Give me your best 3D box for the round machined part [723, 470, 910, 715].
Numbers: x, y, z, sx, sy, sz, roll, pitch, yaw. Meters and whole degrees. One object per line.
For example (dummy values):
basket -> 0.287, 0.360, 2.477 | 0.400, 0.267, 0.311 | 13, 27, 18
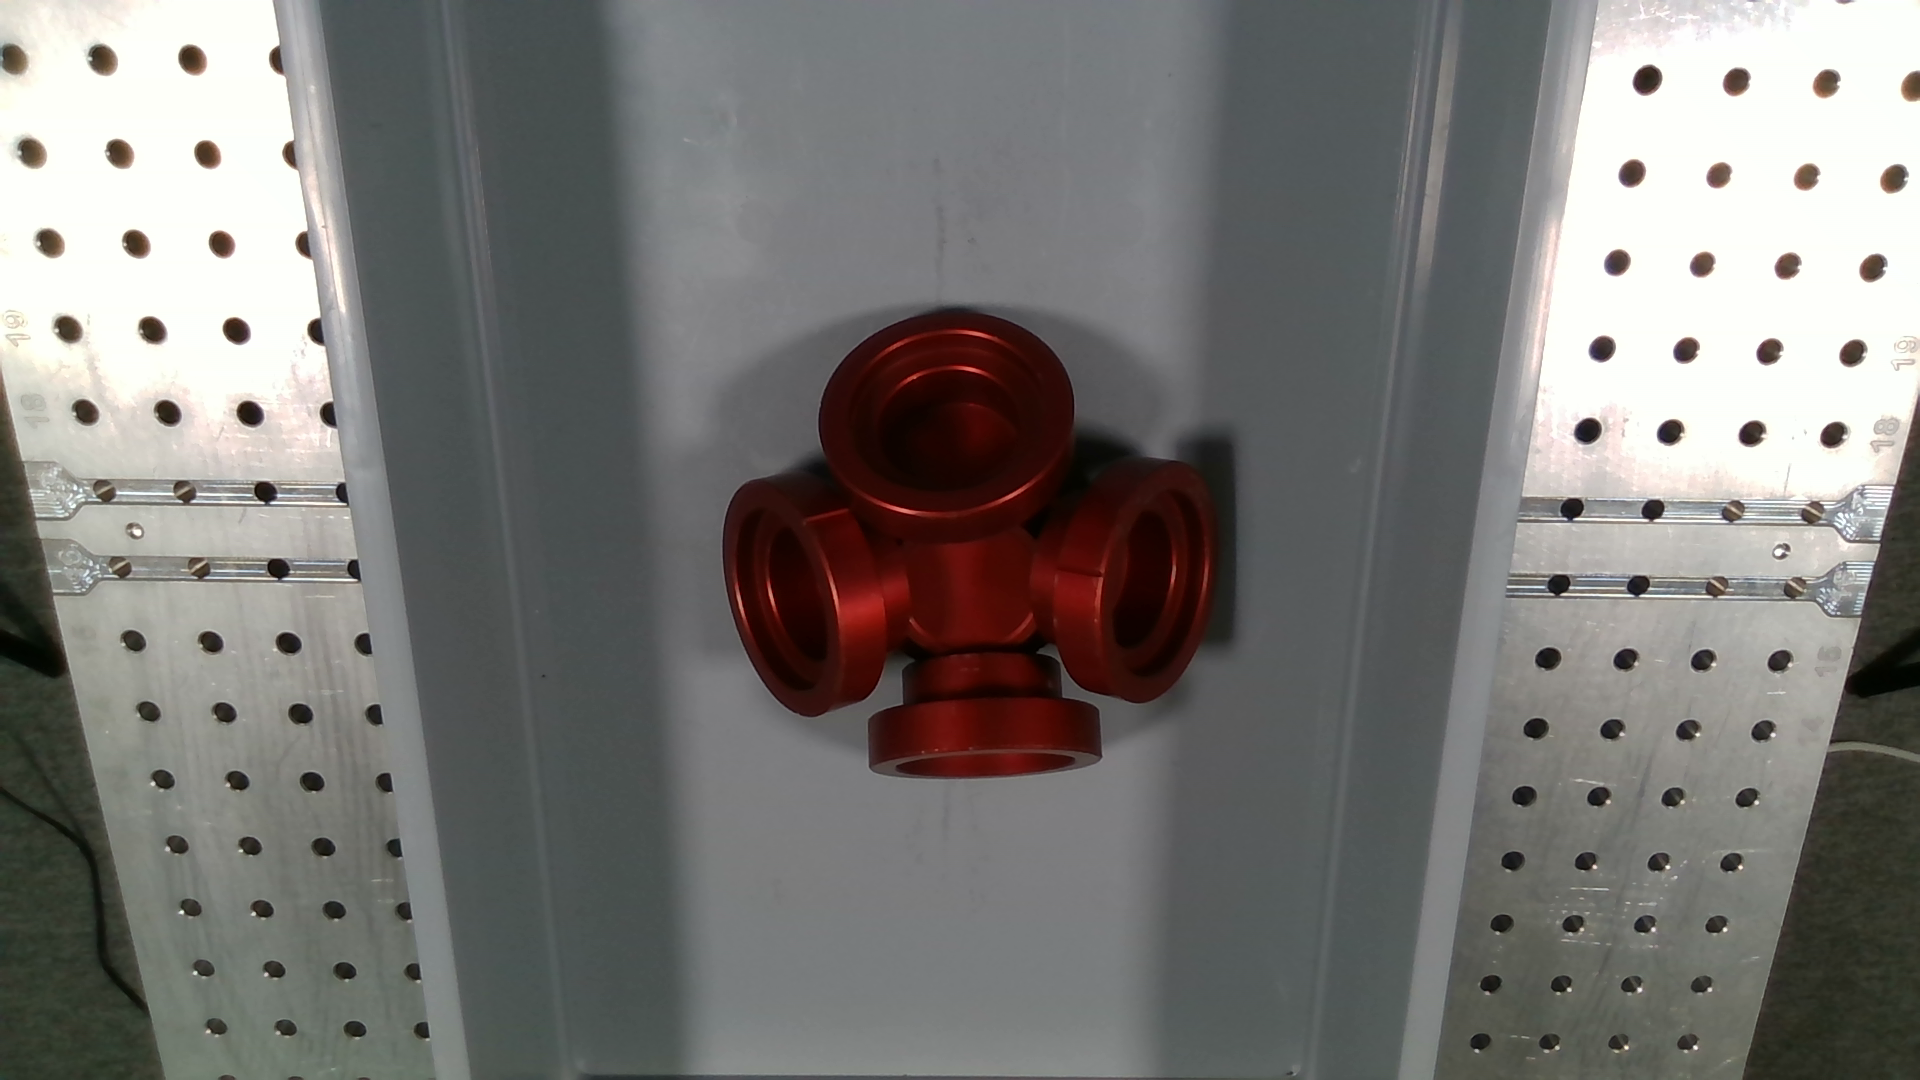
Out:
round machined part -> -0.056, 0.019, 0.561 | 0.042, 0.098, 0.098 | -15, 114, -33

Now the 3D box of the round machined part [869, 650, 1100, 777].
round machined part -> 0.010, 0.074, 0.583 | 0.098, 0.098, 0.042 | -3, 74, 1

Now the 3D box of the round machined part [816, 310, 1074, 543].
round machined part -> -0.004, -0.040, 0.540 | 0.098, 0.098, 0.042 | -6, 147, 2

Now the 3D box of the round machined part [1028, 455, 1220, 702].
round machined part -> 0.064, 0.014, 0.559 | 0.042, 0.098, 0.098 | 12, 115, 36

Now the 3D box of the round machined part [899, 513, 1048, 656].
round machined part -> 0.004, 0.011, 0.578 | 0.098, 0.042, 0.098 | 0, 110, 0
